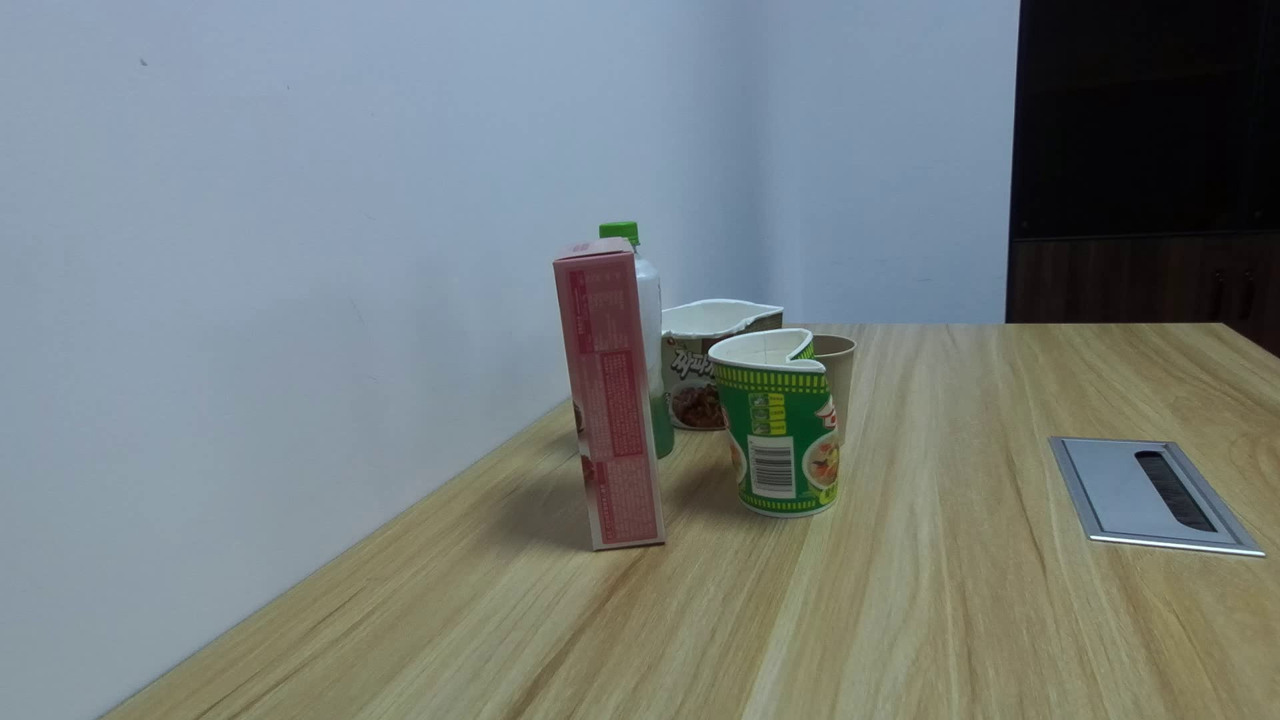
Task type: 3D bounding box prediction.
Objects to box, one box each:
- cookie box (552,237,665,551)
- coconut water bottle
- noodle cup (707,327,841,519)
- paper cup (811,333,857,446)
[{"bbox_3d":[-0.016,0.018,0.461,0.048,0.184,0.096,-6,16,1],"label":"cookie box"},{"bbox_3d":[-0.008,-0.015,0.577,0.063,0.188,0.063,-5,14,1],"label":"coconut water bottle"},{"bbox_3d":[0.095,0.041,0.478,0.086,0.109,0.094,4,19,29],"label":"noodle cup"},{"bbox_3d":[0.139,0.027,0.579,0.075,0.082,0.075,-3,12,1],"label":"paper cup"}]
